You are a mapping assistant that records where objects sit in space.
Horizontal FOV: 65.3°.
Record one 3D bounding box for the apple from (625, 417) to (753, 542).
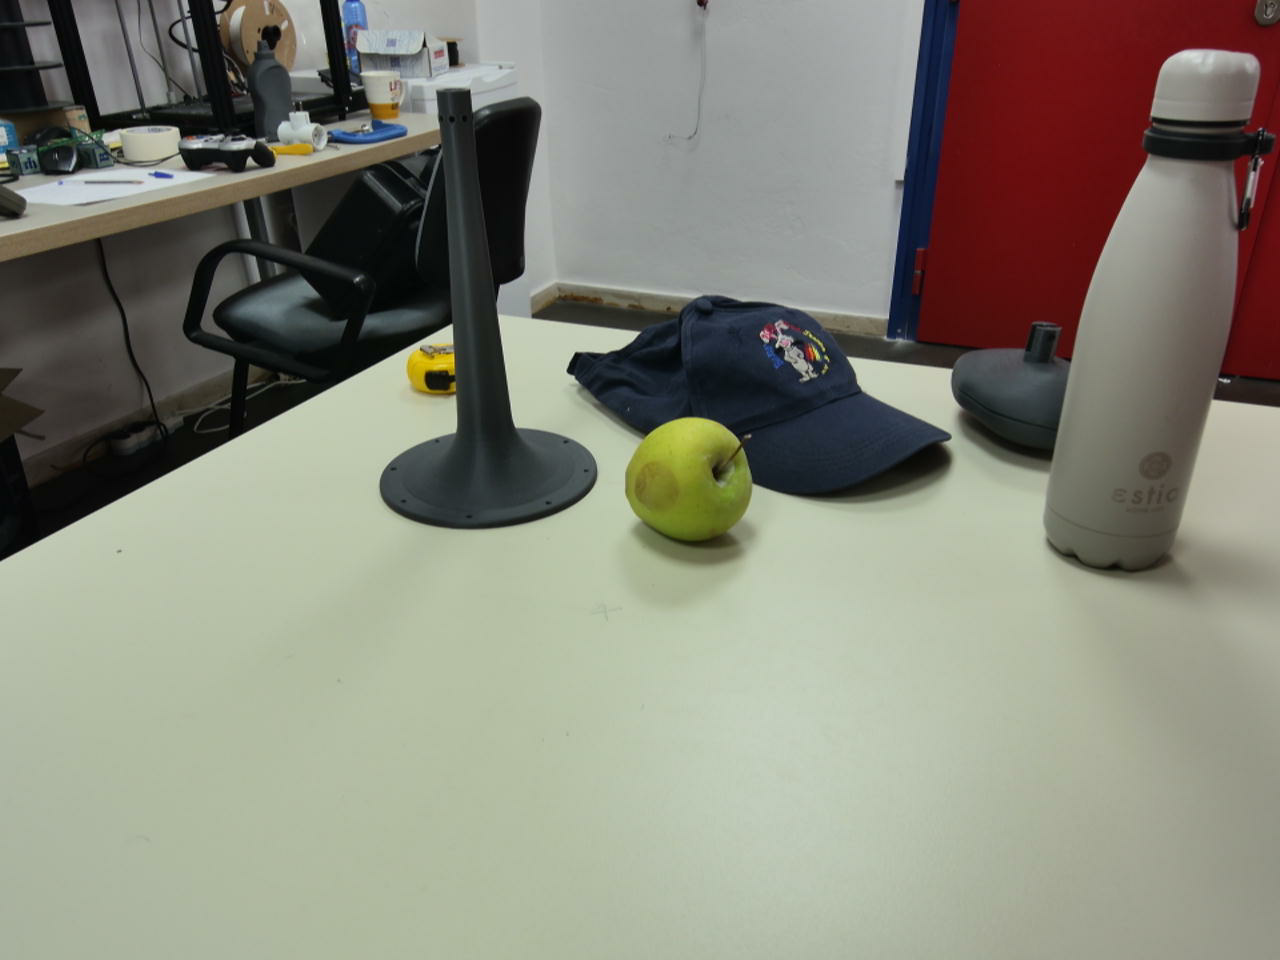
[{"bbox_3d":[0.030,-0.002,0.607,0.072,0.075,0.077,-10,27,-20],"label":"apple"}]
